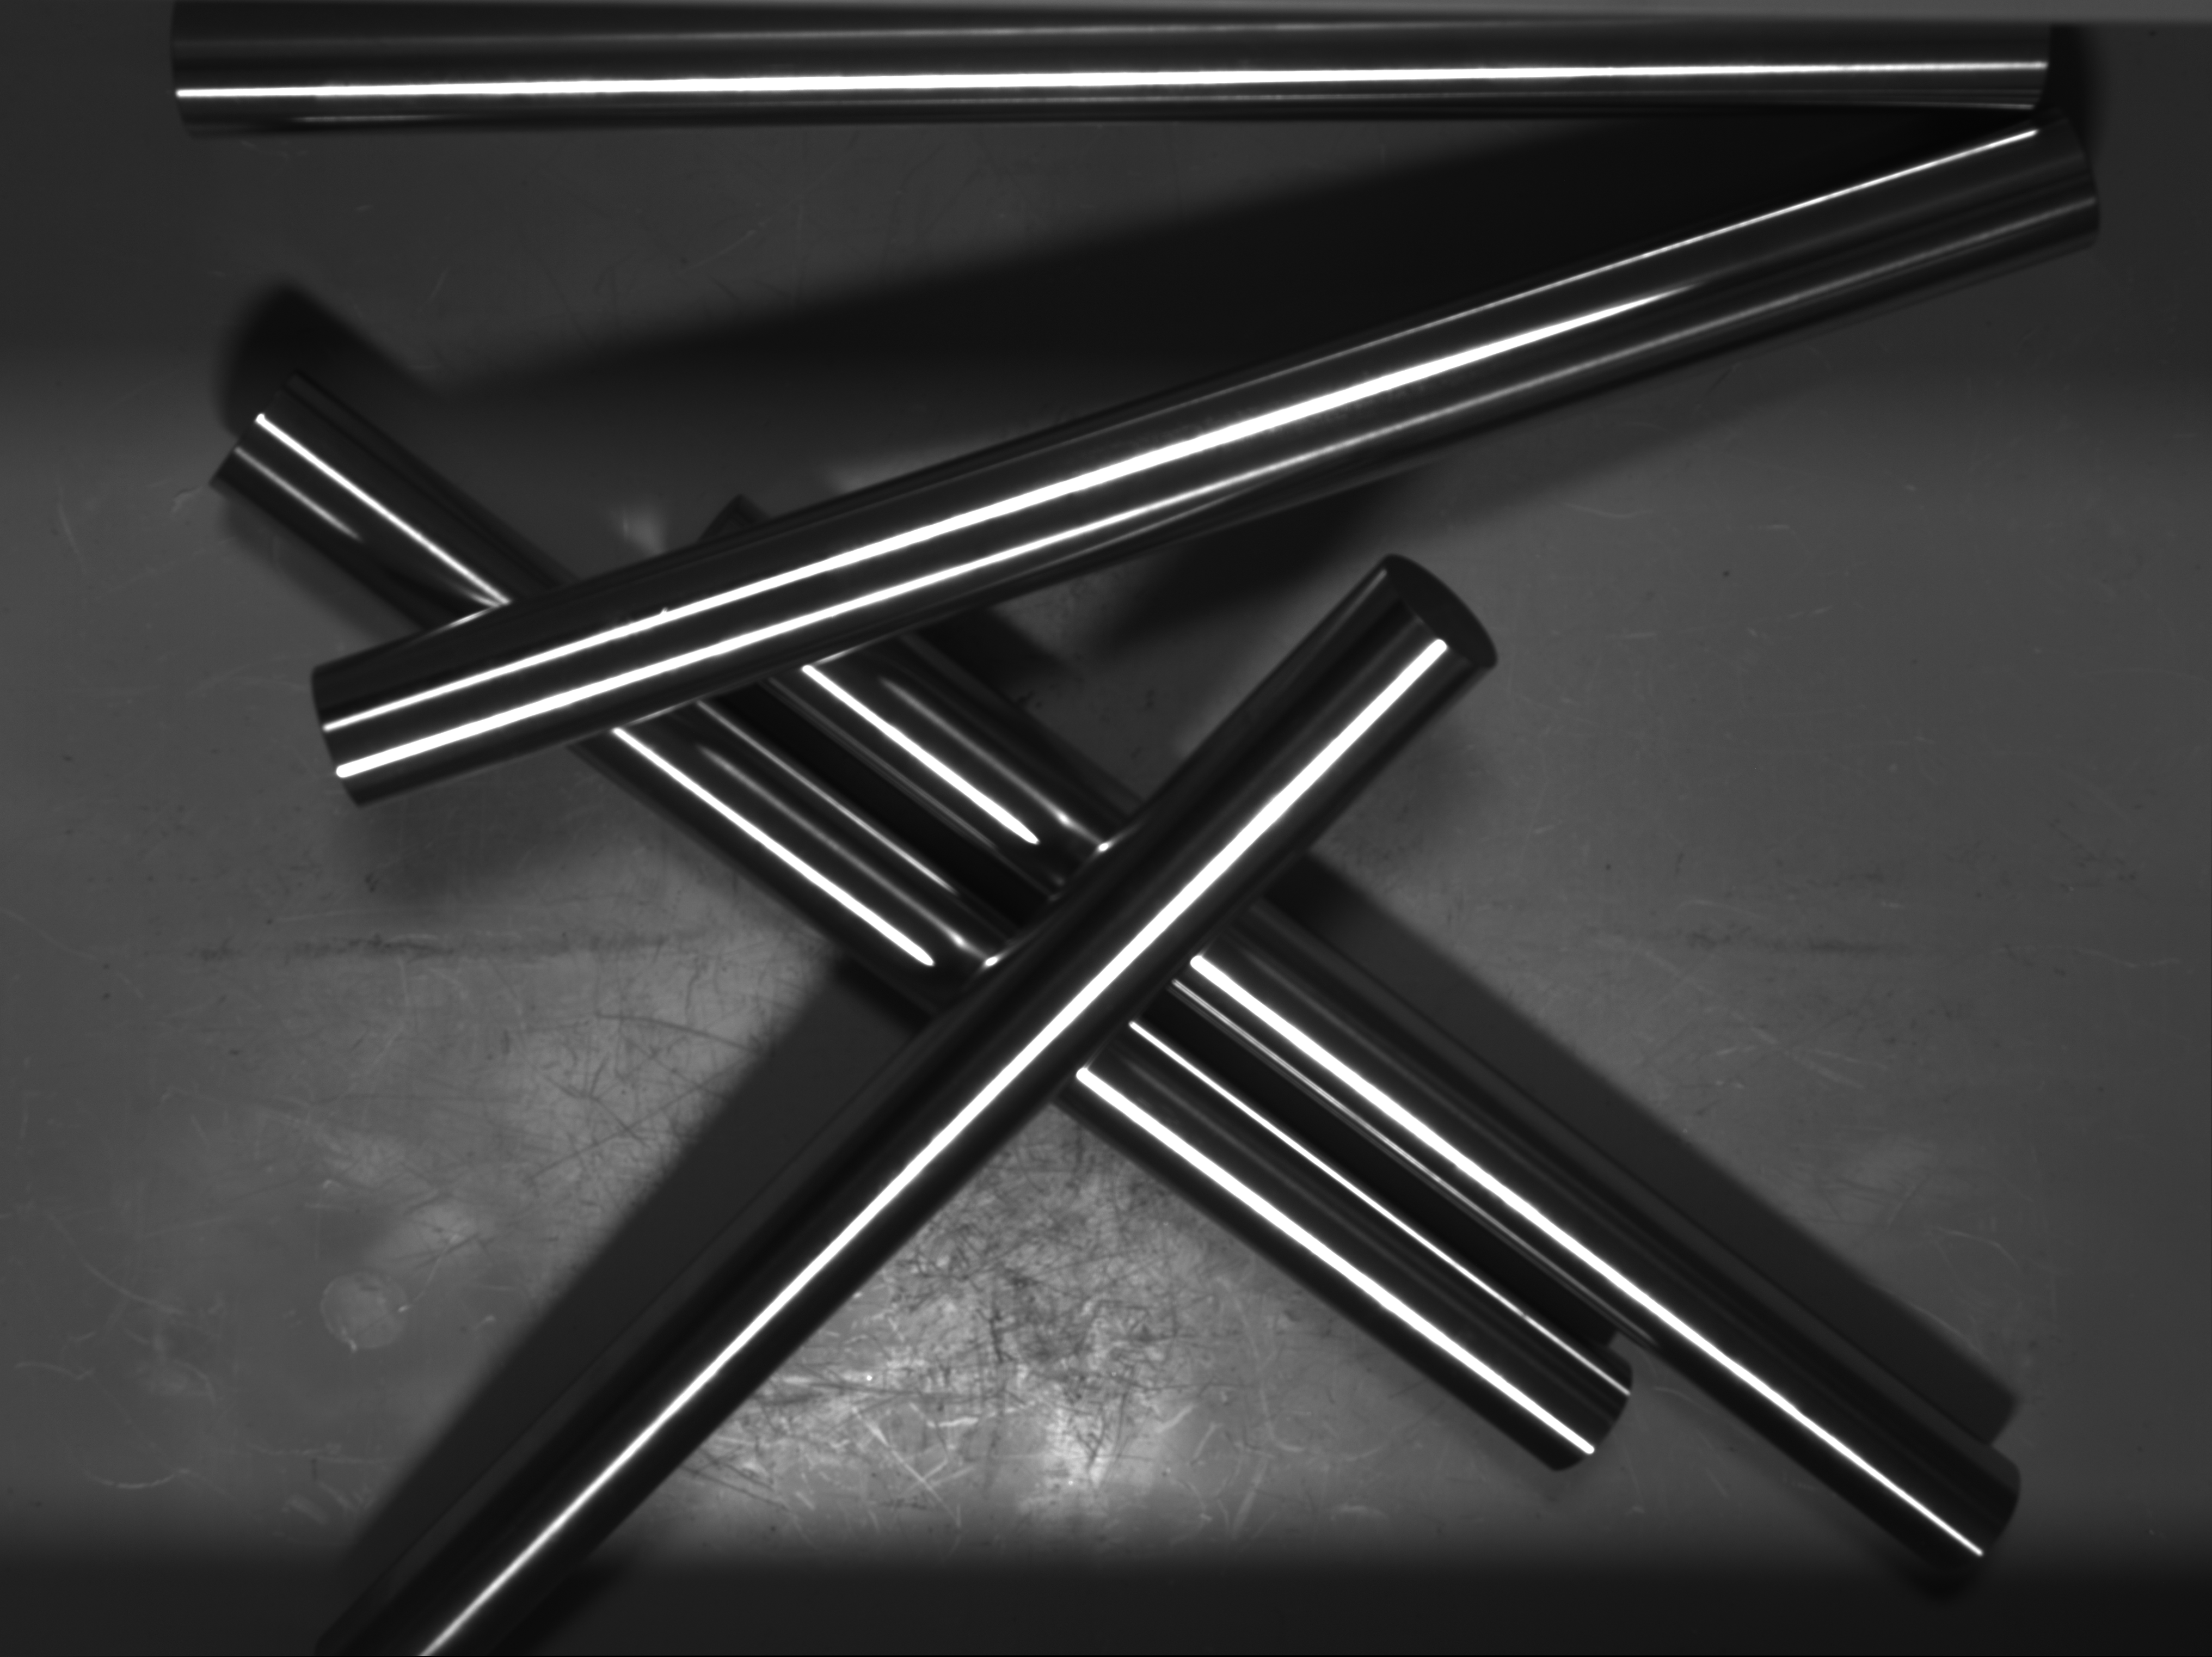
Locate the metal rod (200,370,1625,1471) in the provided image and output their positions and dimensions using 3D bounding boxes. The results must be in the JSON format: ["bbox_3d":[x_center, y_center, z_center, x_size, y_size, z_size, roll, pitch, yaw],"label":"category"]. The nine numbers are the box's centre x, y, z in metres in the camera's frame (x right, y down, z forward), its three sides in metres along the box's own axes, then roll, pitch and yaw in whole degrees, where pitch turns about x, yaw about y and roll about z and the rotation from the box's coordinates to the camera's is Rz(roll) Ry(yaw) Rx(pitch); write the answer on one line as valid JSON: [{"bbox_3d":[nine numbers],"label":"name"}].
[{"bbox_3d":[-0.028,0.021,0.650,0.300,0.025,0.025,37,105,-13],"label":"metal rod"}]

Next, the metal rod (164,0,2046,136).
[{"bbox_3d":[0.000,-0.127,0.596,0.300,0.025,0.025,-1,110,0],"label":"metal rod"}]

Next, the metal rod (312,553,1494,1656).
[{"bbox_3d":[-0.044,0.064,0.644,0.025,0.025,0.300,39,113,-13],"label":"metal rod"}]

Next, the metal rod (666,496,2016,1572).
[{"bbox_3d":[0.046,0.041,0.658,0.300,0.025,0.025,37,105,-13],"label":"metal rod"}]

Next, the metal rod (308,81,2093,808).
[{"bbox_3d":[0.016,-0.063,0.603,0.300,0.025,0.025,-19,109,0],"label":"metal rod"}]
